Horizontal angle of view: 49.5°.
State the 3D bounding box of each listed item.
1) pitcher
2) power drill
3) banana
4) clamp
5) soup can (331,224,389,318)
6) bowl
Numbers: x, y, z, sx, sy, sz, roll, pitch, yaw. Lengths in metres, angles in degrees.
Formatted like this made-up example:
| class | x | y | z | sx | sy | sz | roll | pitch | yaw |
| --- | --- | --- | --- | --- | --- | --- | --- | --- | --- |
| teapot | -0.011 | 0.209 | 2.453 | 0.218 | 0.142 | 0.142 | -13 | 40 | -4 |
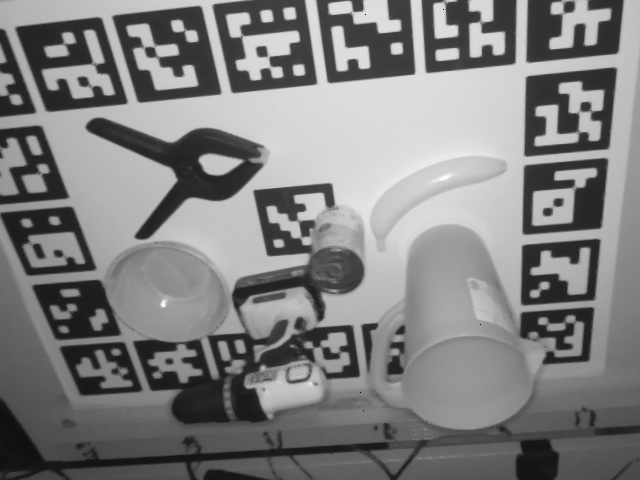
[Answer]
| class | x | y | z | sx | sy | sz | roll | pitch | yaw |
| --- | --- | --- | --- | --- | --- | --- | --- | --- | --- |
| pitcher | 0.171 | 0.118 | 0.807 | 0.187 | 0.244 | 0.133 | -26 | 118 | 16 |
| power drill | -0.062 | 0.160 | 0.849 | 0.184 | 0.188 | 0.057 | -8 | 119 | 8 |
| banana | 0.168 | -0.031 | 0.844 | 0.195 | 0.039 | 0.074 | -26 | 123 | 17 |
| clamp | -0.130 | -0.067 | 0.825 | 0.202 | 0.037 | 0.164 | -6 | 115 | 6 |
| soup can | 0.048 | 0.037 | 0.848 | 0.068 | 0.103 | 0.067 | 0 | 128 | 1 |
| bowl | -0.172 | 0.075 | 0.902 | 0.162 | 0.055 | 0.160 | 0 | 118 | 2 |
